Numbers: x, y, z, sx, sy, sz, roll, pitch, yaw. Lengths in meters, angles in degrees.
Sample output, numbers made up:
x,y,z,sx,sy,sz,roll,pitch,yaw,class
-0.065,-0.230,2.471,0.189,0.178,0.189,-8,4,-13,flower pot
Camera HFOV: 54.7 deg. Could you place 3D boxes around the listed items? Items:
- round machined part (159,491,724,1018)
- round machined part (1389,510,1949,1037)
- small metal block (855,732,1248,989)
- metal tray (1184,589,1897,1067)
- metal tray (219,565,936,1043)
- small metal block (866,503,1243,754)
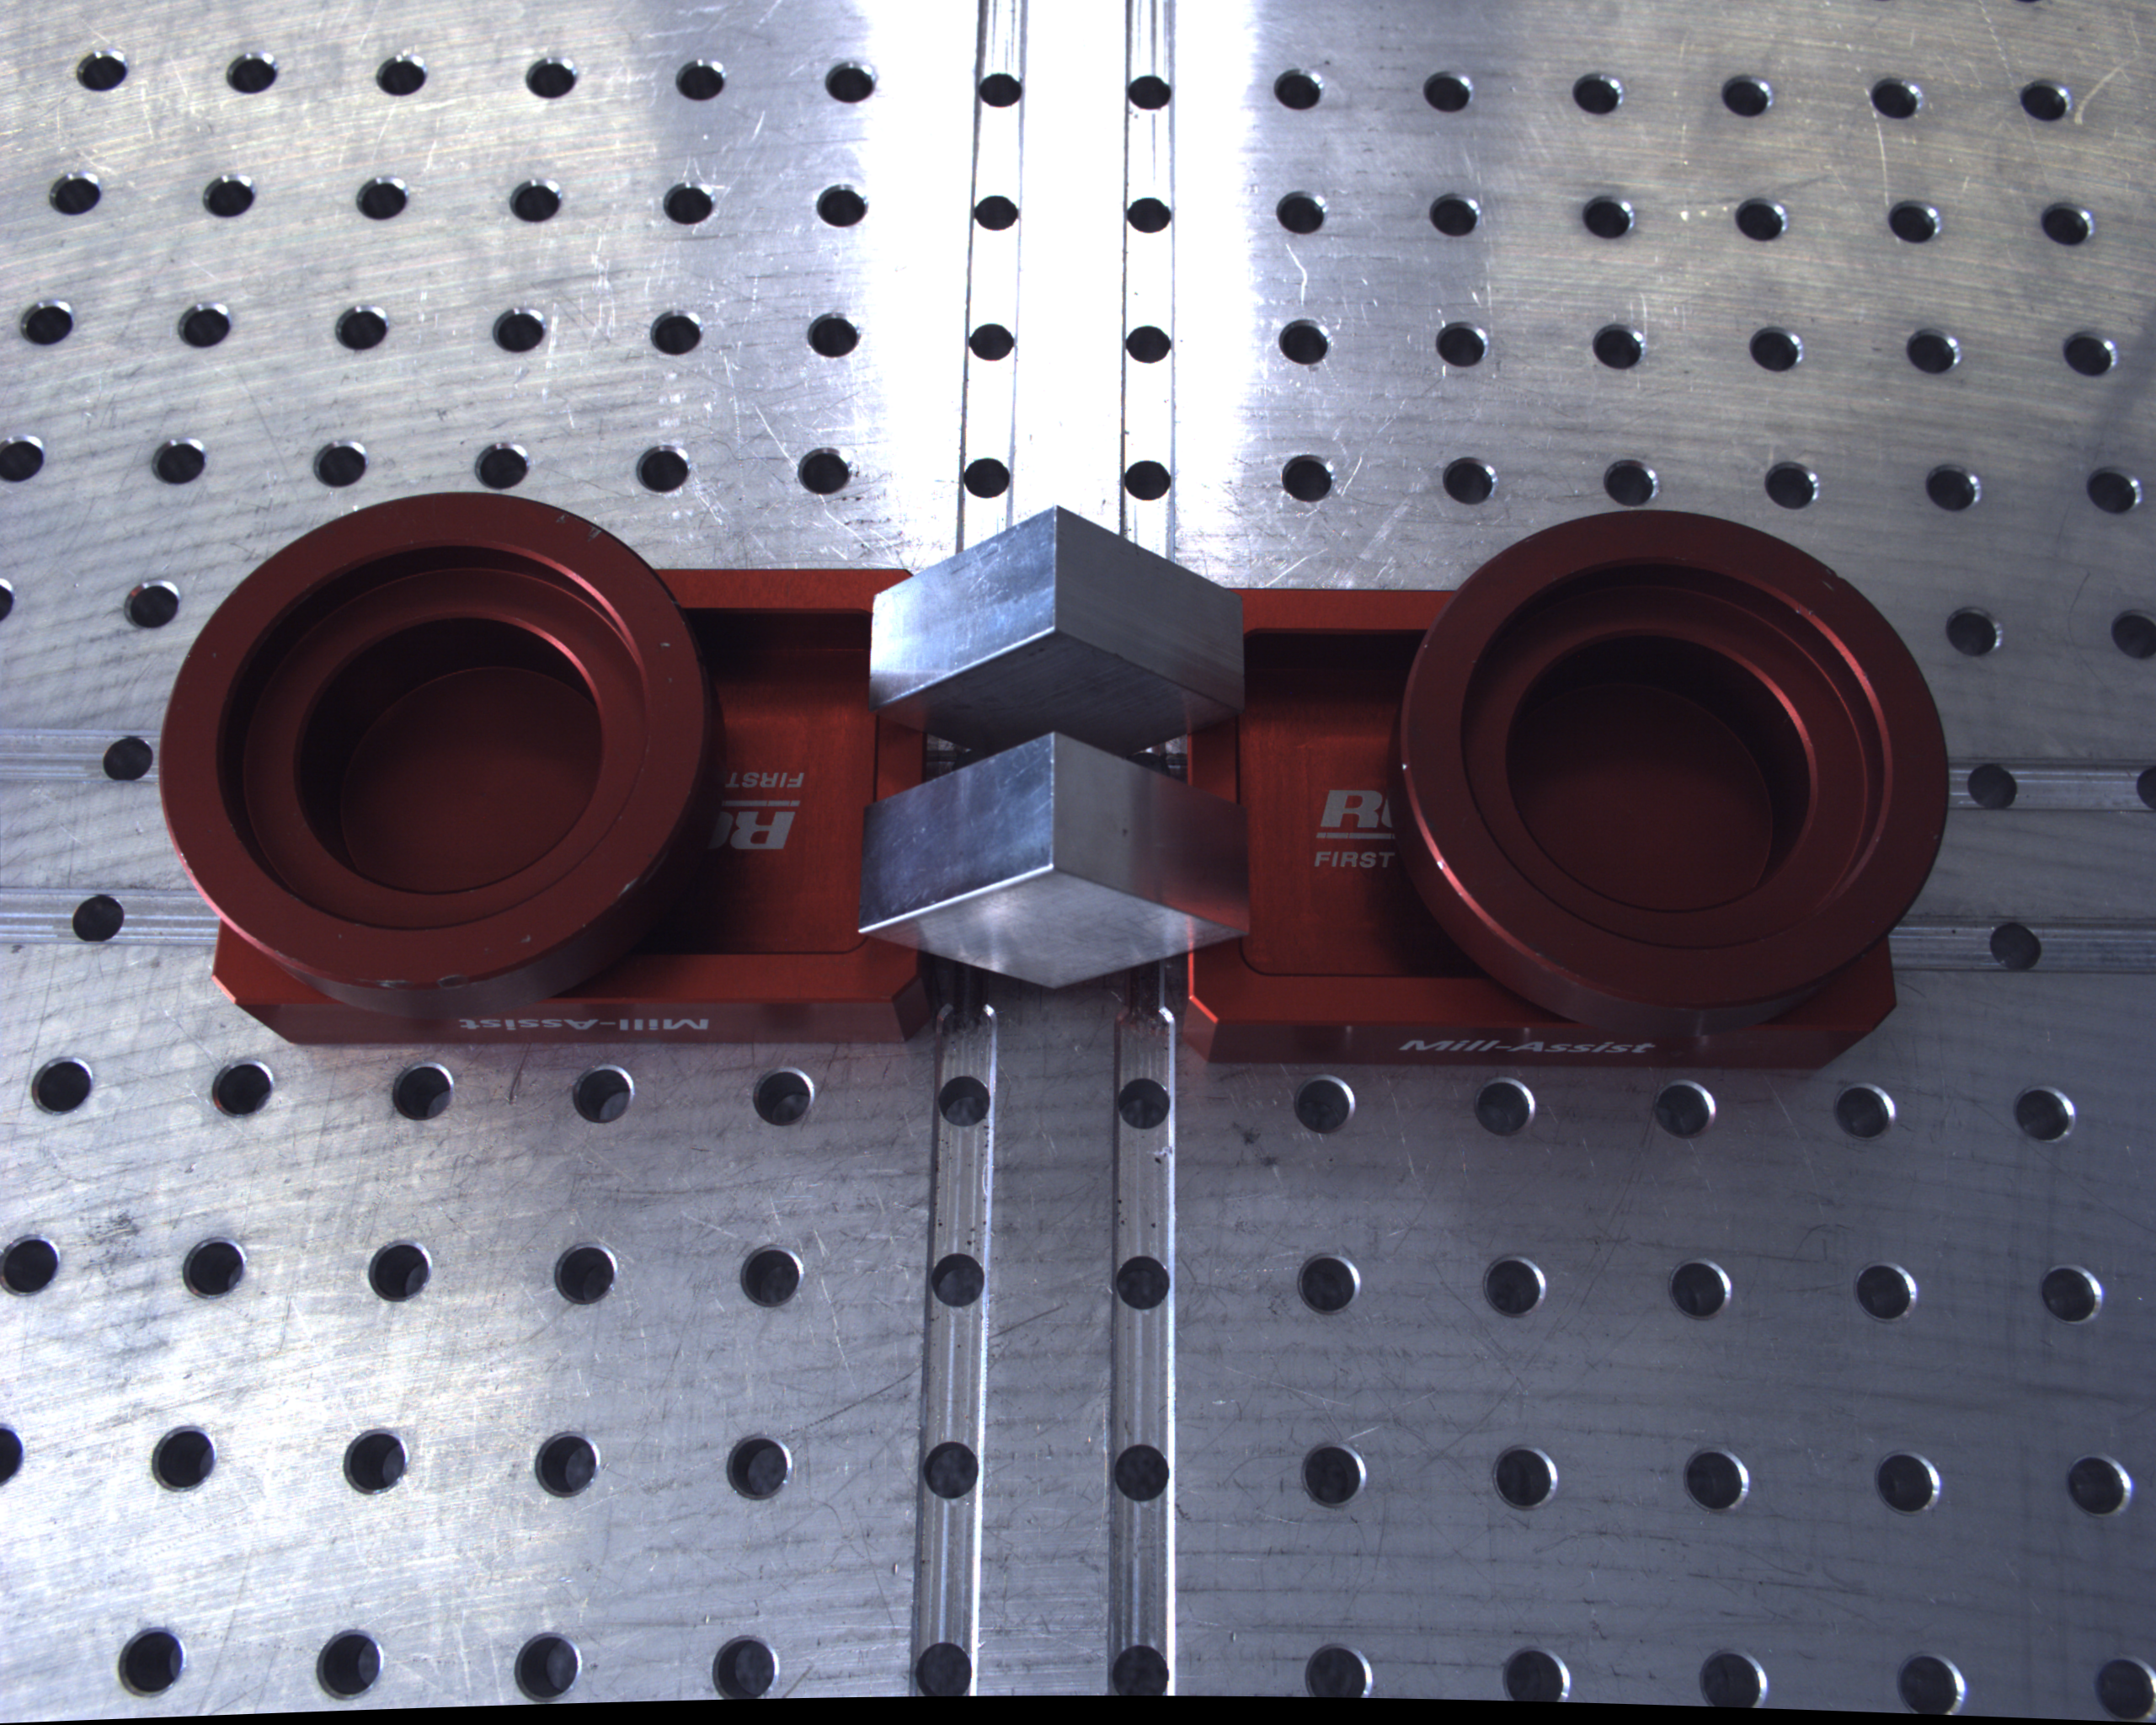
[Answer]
x,y,z,sx,sy,sz,roll,pitch,yaw,class
-0.116,-0.017,0.395,0.099,0.042,0.098,0,70,0,round machined part
0.108,-0.014,0.395,0.099,0.042,0.098,0,70,0,round machined part
-0.005,0.001,0.382,0.050,0.050,0.025,-18,63,41,small metal block
0.087,-0.007,0.412,0.131,0.030,0.090,1,70,0,metal tray
-0.095,-0.012,0.414,0.131,0.030,0.090,-1,72,-1,metal tray
-0.004,-0.040,0.398,0.050,0.050,0.025,-18,63,41,small metal block
